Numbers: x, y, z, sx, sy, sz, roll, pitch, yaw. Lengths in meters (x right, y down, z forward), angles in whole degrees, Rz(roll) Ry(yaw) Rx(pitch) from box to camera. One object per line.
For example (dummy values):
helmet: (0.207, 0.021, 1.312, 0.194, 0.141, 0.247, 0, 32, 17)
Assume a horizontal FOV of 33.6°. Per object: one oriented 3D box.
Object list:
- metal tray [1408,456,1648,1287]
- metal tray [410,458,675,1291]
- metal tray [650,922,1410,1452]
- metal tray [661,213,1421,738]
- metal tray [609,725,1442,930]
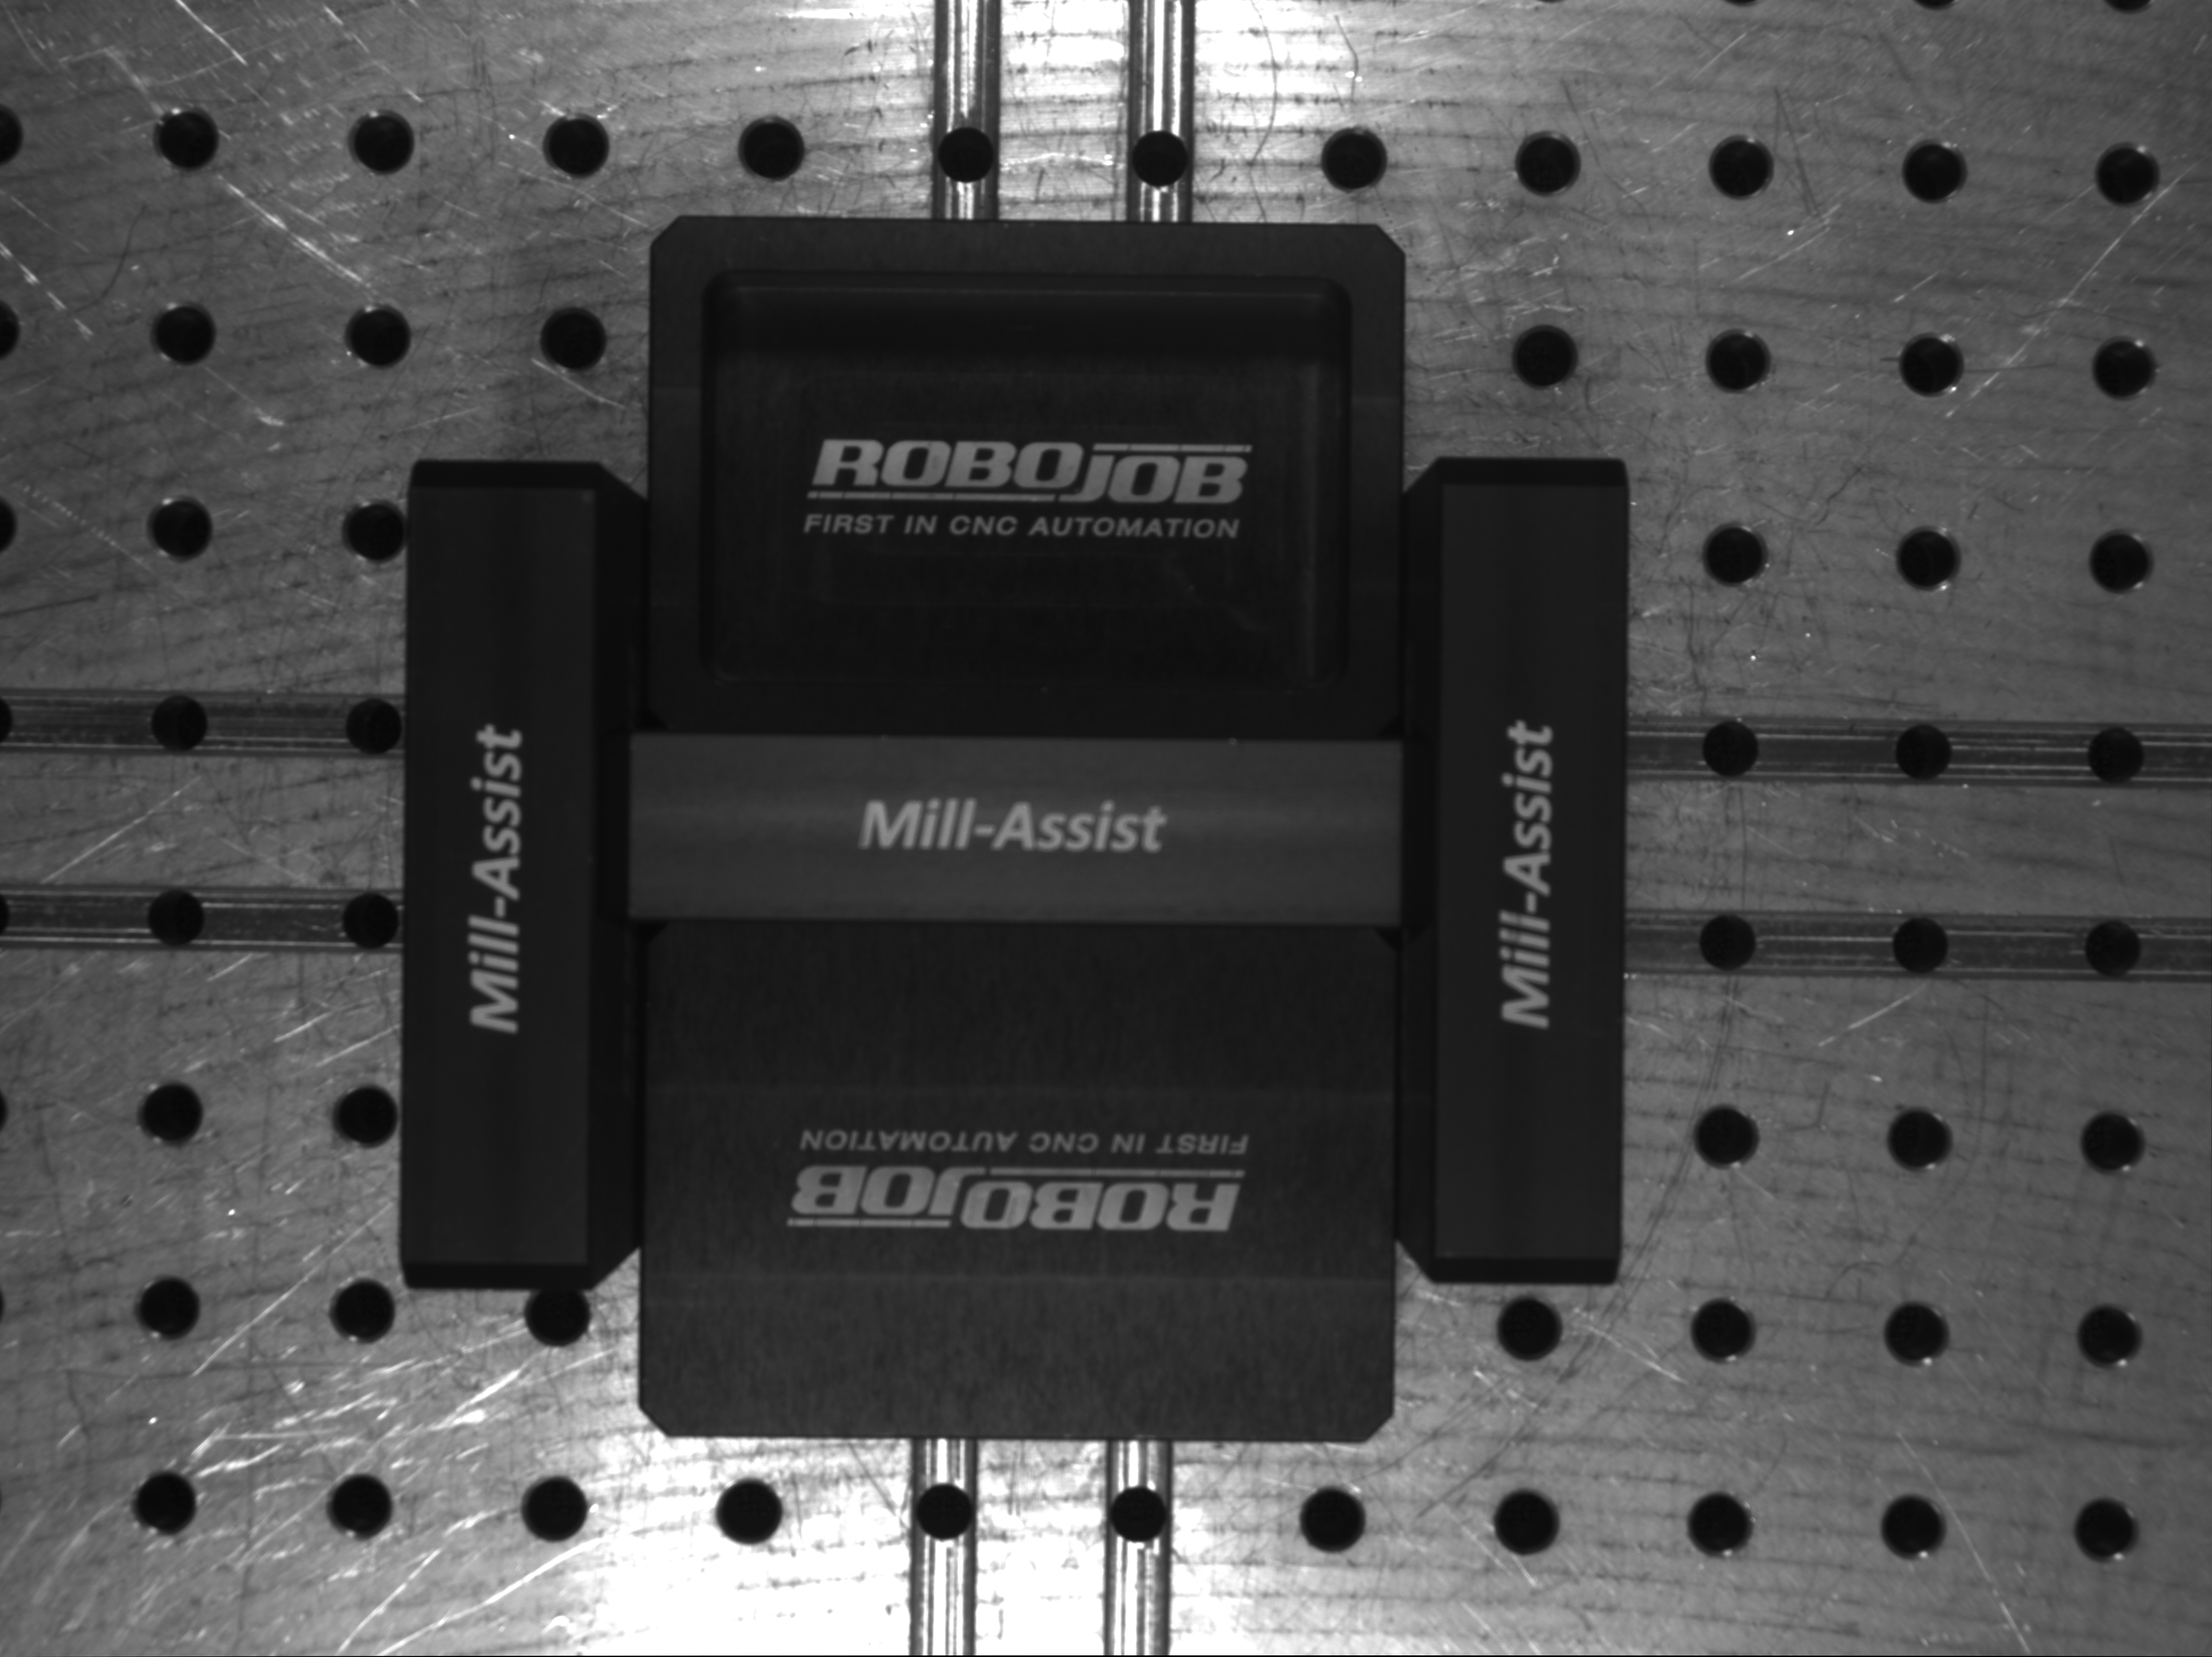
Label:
metal tray: (0.069, 0.007, 0.615, 0.030, 0.090, 0.130, 1, 90, 0)
metal tray: (-0.093, 0.007, 0.613, 0.030, 0.090, 0.130, 1, 90, 0)
metal tray: (-0.013, 0.062, 0.643, 0.130, 0.030, 0.090, 1, 90, -1)
metal tray: (-0.011, -0.060, 0.645, 0.130, 0.030, 0.090, 1, 90, -1)
metal tray: (-0.013, 0.000, 0.613, 0.130, 0.090, 0.030, 1, 90, 0)
